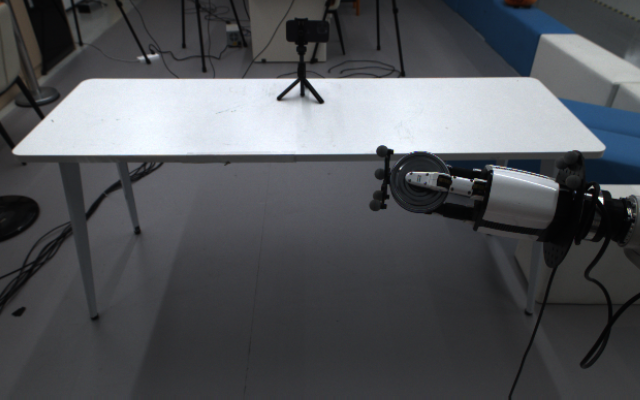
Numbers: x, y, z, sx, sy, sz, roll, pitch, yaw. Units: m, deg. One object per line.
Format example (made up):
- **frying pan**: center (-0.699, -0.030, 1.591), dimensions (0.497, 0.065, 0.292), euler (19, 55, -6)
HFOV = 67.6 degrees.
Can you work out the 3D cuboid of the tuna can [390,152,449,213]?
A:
- **tuna can**: center (0.142, -0.029, 0.688), dimensions (0.085, 0.085, 0.034), euler (9, -7, 10)
